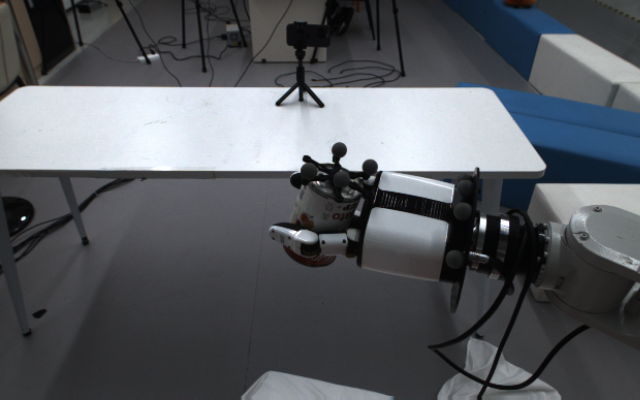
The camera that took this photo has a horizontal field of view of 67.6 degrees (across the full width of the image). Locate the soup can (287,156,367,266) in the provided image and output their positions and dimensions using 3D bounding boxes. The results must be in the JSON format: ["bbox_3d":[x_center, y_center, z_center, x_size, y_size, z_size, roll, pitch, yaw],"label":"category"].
[{"bbox_3d":[0.004,0.018,0.550,0.067,0.101,0.067,14,35,-10],"label":"soup can"}]
